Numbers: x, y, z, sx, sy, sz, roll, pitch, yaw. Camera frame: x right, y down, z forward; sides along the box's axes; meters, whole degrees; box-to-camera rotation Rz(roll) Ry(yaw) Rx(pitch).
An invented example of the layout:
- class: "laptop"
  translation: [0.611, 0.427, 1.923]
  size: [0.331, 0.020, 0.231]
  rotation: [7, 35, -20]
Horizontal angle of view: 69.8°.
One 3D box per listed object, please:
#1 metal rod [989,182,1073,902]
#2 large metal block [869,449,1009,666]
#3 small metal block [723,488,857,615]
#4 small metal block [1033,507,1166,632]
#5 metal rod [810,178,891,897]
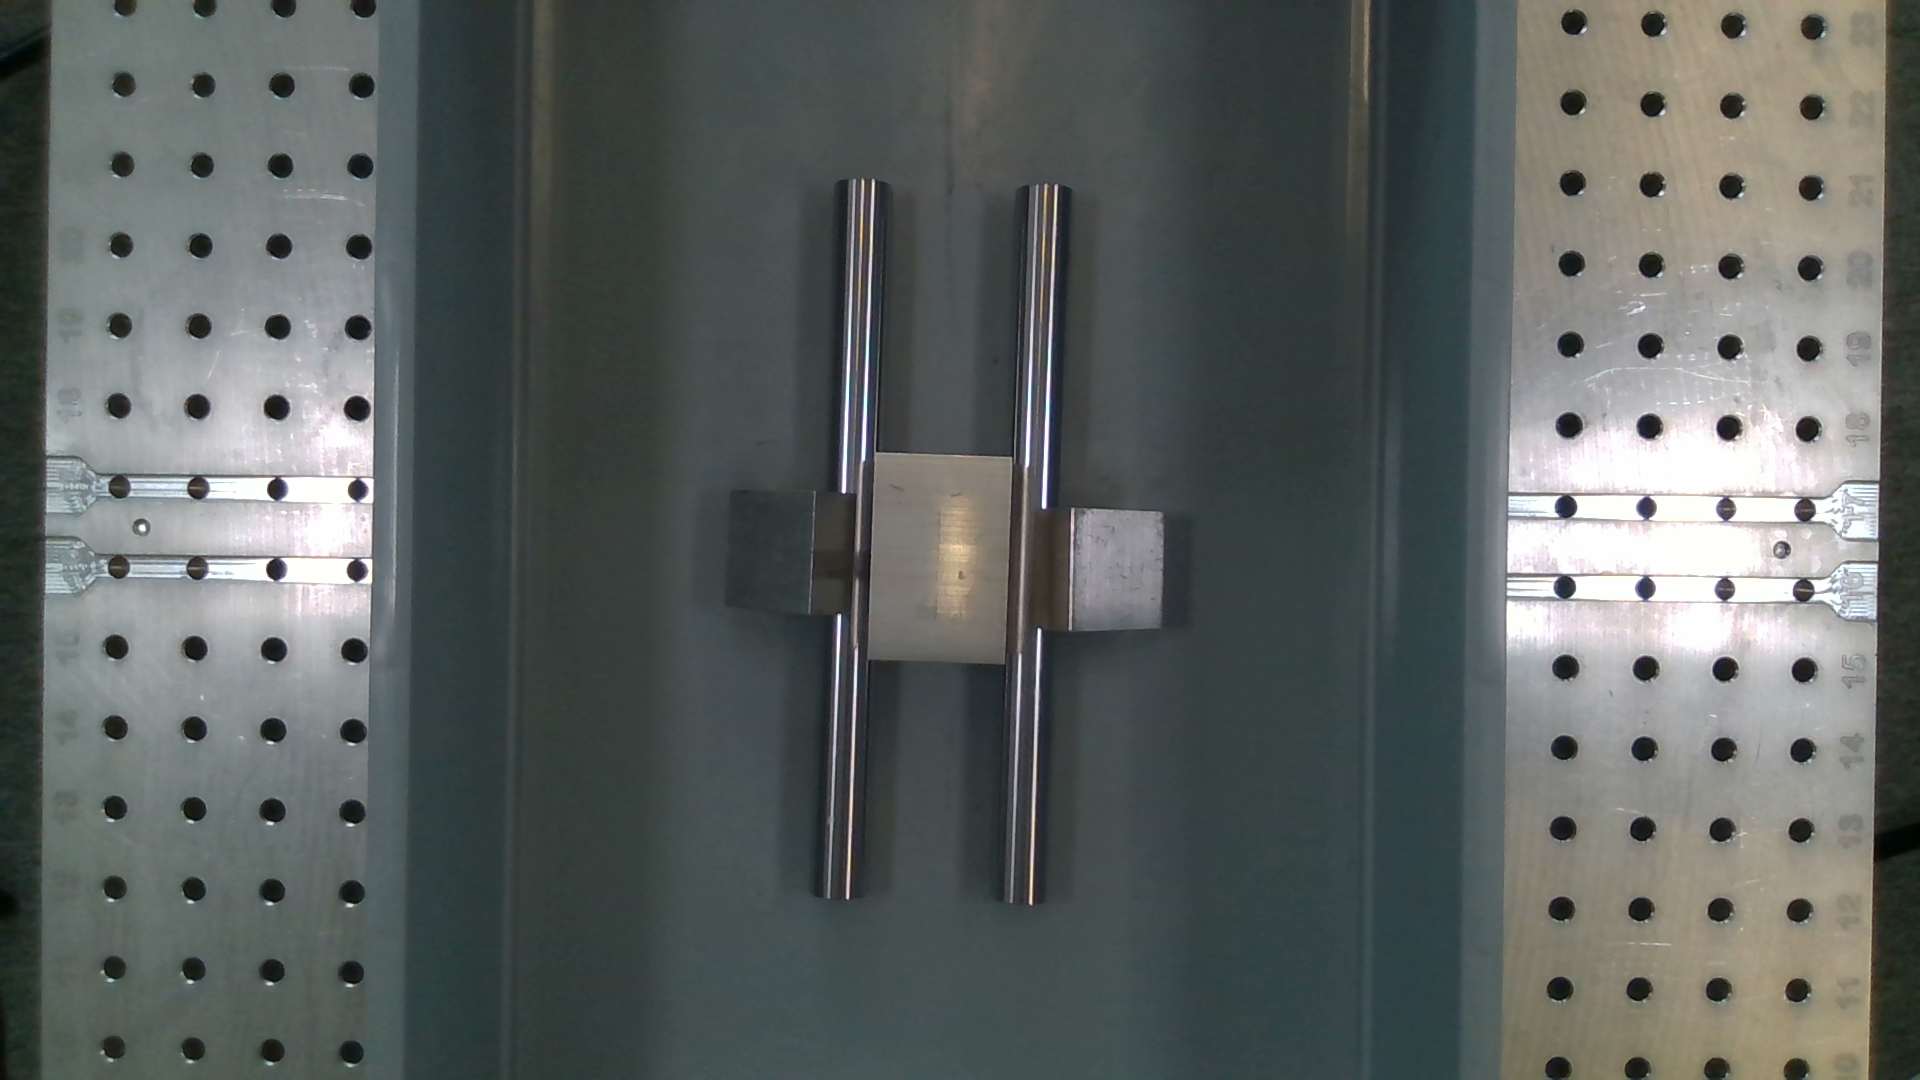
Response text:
- class: "metal rod"
  translation: [0.030, 0.001, 0.585]
  size: [0.025, 0.025, 0.300]
  rotation: [2, 91, 0]
- class: "large metal block"
  translation: [-0.008, 0.006, 0.558]
  size: [0.050, 0.080, 0.080]
  rotation: [2, 90, 0]
- class: "small metal block"
  translation: [-0.071, 0.004, 0.574]
  size: [0.050, 0.025, 0.050]
  rotation: [3, 91, 37]
- class: "small metal block"
  translation: [0.058, 0.012, 0.575]
  size: [0.050, 0.025, 0.050]
  rotation: [1, 91, -34]
- class: "metal rod"
  translation: [-0.047, -0.001, 0.586]
  size: [0.025, 0.025, 0.300]
  rotation: [2, 91, 0]
